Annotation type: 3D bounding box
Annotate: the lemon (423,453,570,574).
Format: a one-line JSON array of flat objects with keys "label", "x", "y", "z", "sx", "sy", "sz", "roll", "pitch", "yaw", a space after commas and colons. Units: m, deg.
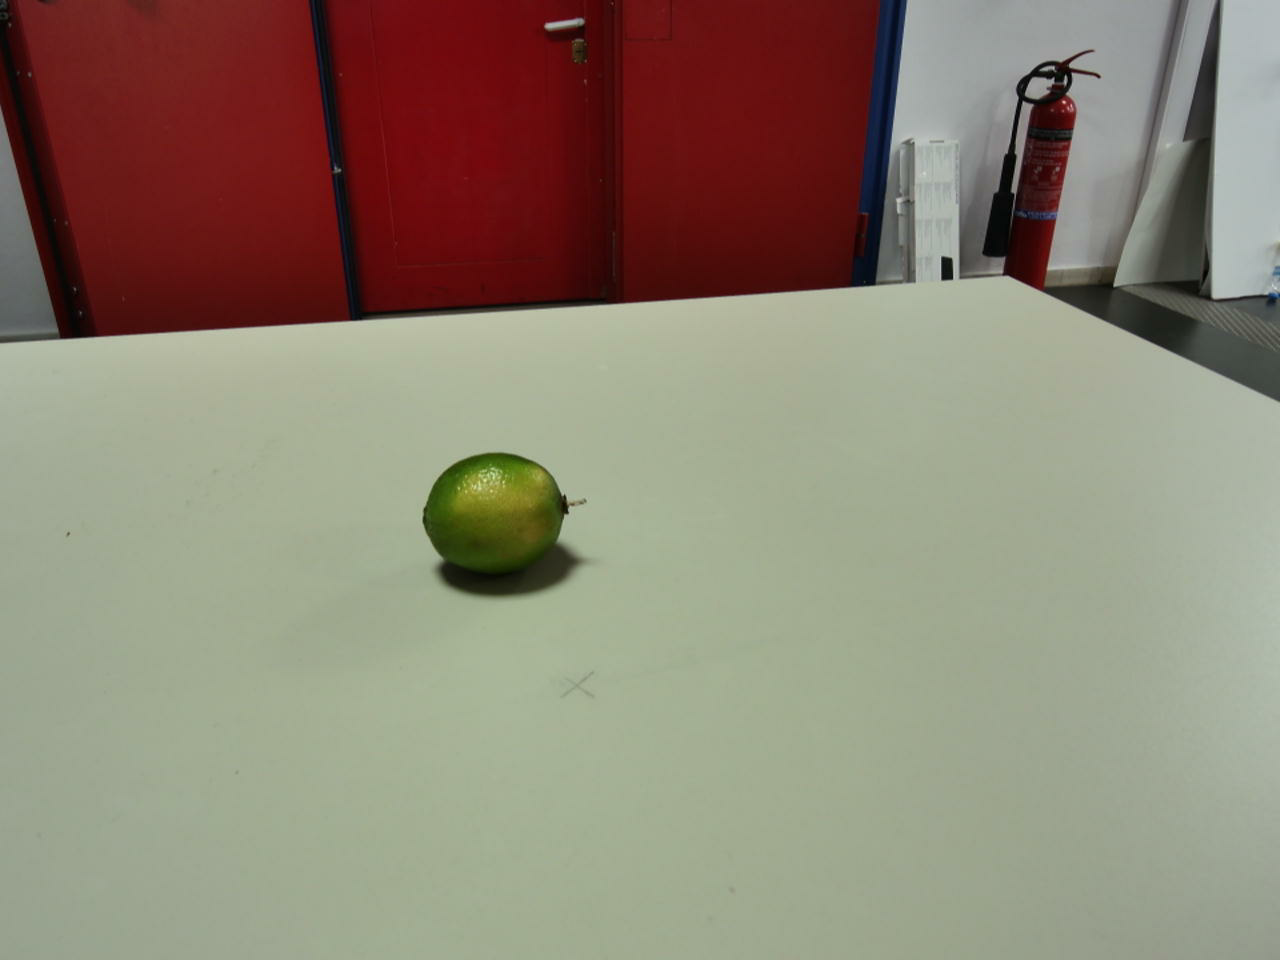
[{"label": "lemon", "x": -0.061, "y": 0.014, "z": 0.421, "sx": 0.055, "sy": 0.050, "sz": 0.054, "roll": 17, "pitch": 29, "yaw": 33}]
